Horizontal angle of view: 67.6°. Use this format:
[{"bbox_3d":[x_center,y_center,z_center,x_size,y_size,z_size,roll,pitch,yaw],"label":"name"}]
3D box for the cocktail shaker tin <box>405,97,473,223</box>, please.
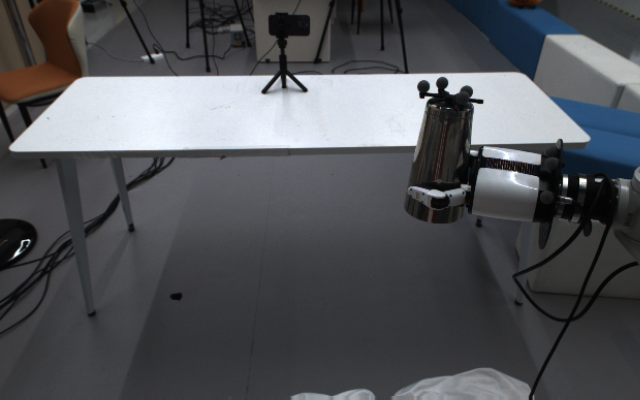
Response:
[{"bbox_3d":[0.182,-0.062,0.722,0.093,0.170,0.093,1,28,-1],"label":"cocktail shaker tin"}]
